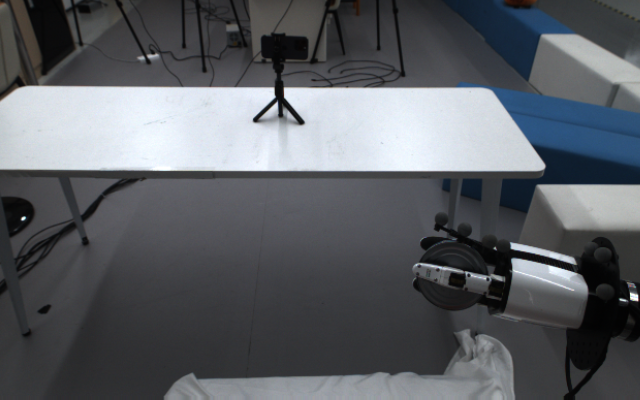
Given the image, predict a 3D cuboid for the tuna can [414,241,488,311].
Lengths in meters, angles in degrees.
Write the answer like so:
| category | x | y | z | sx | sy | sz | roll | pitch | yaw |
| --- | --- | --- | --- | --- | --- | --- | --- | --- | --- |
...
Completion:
| category | x | y | z | sx | sy | sz | roll | pitch | yaw |
| --- | --- | --- | --- | --- | --- | --- | --- | --- | --- |
| tuna can | 0.169 | 0.090 | 0.608 | 0.085 | 0.085 | 0.034 | 14 | 2 | 16 |
